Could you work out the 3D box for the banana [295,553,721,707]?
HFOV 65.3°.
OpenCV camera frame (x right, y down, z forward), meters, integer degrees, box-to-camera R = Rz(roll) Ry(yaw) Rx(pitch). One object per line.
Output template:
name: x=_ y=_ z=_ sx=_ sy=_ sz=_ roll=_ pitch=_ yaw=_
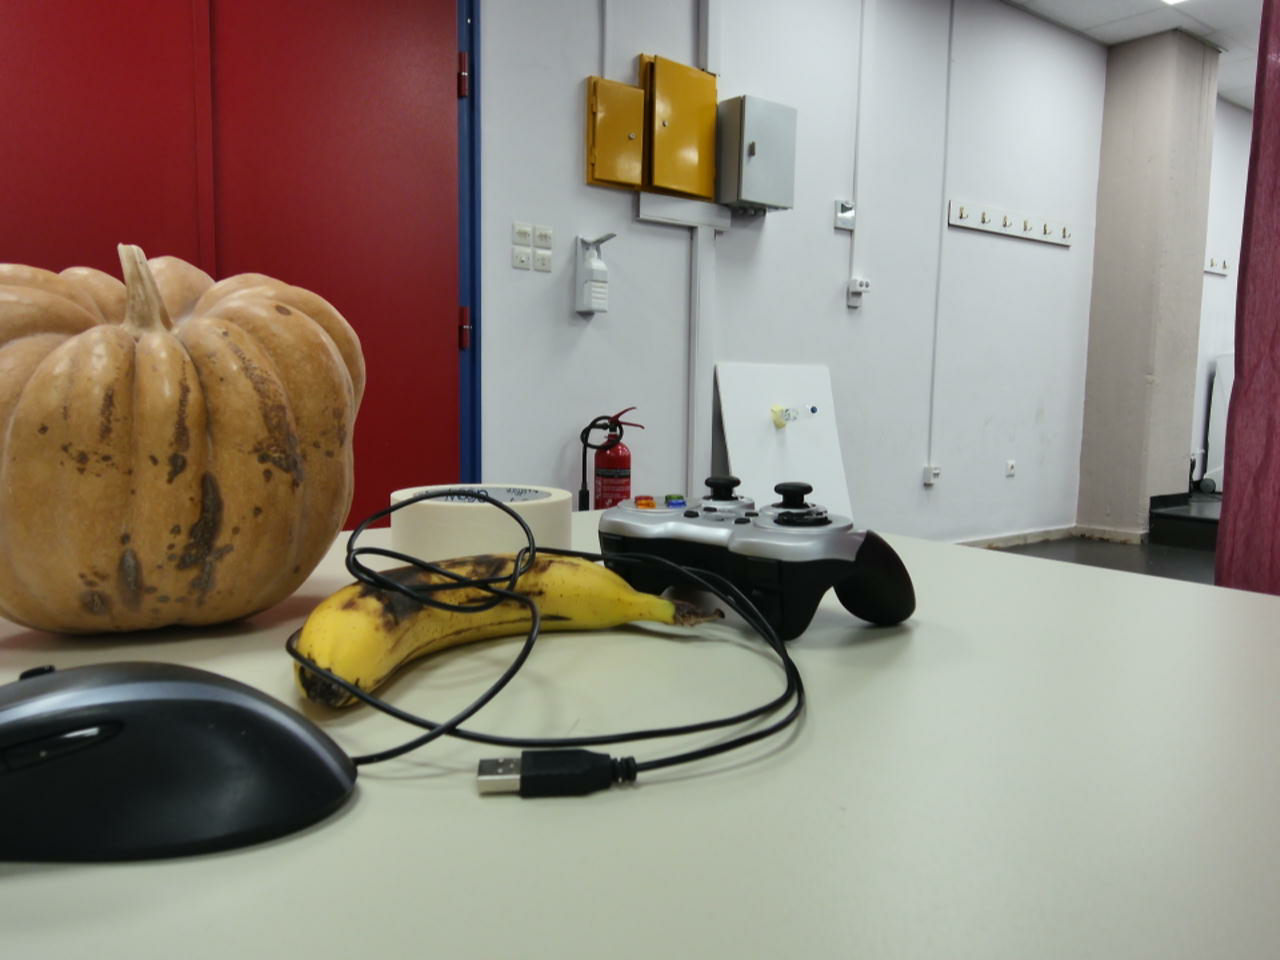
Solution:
banana: x=-0.065 y=0.056 z=0.423 sx=0.187 sy=0.039 sz=0.094 roll=-4 pitch=5 yaw=-40
